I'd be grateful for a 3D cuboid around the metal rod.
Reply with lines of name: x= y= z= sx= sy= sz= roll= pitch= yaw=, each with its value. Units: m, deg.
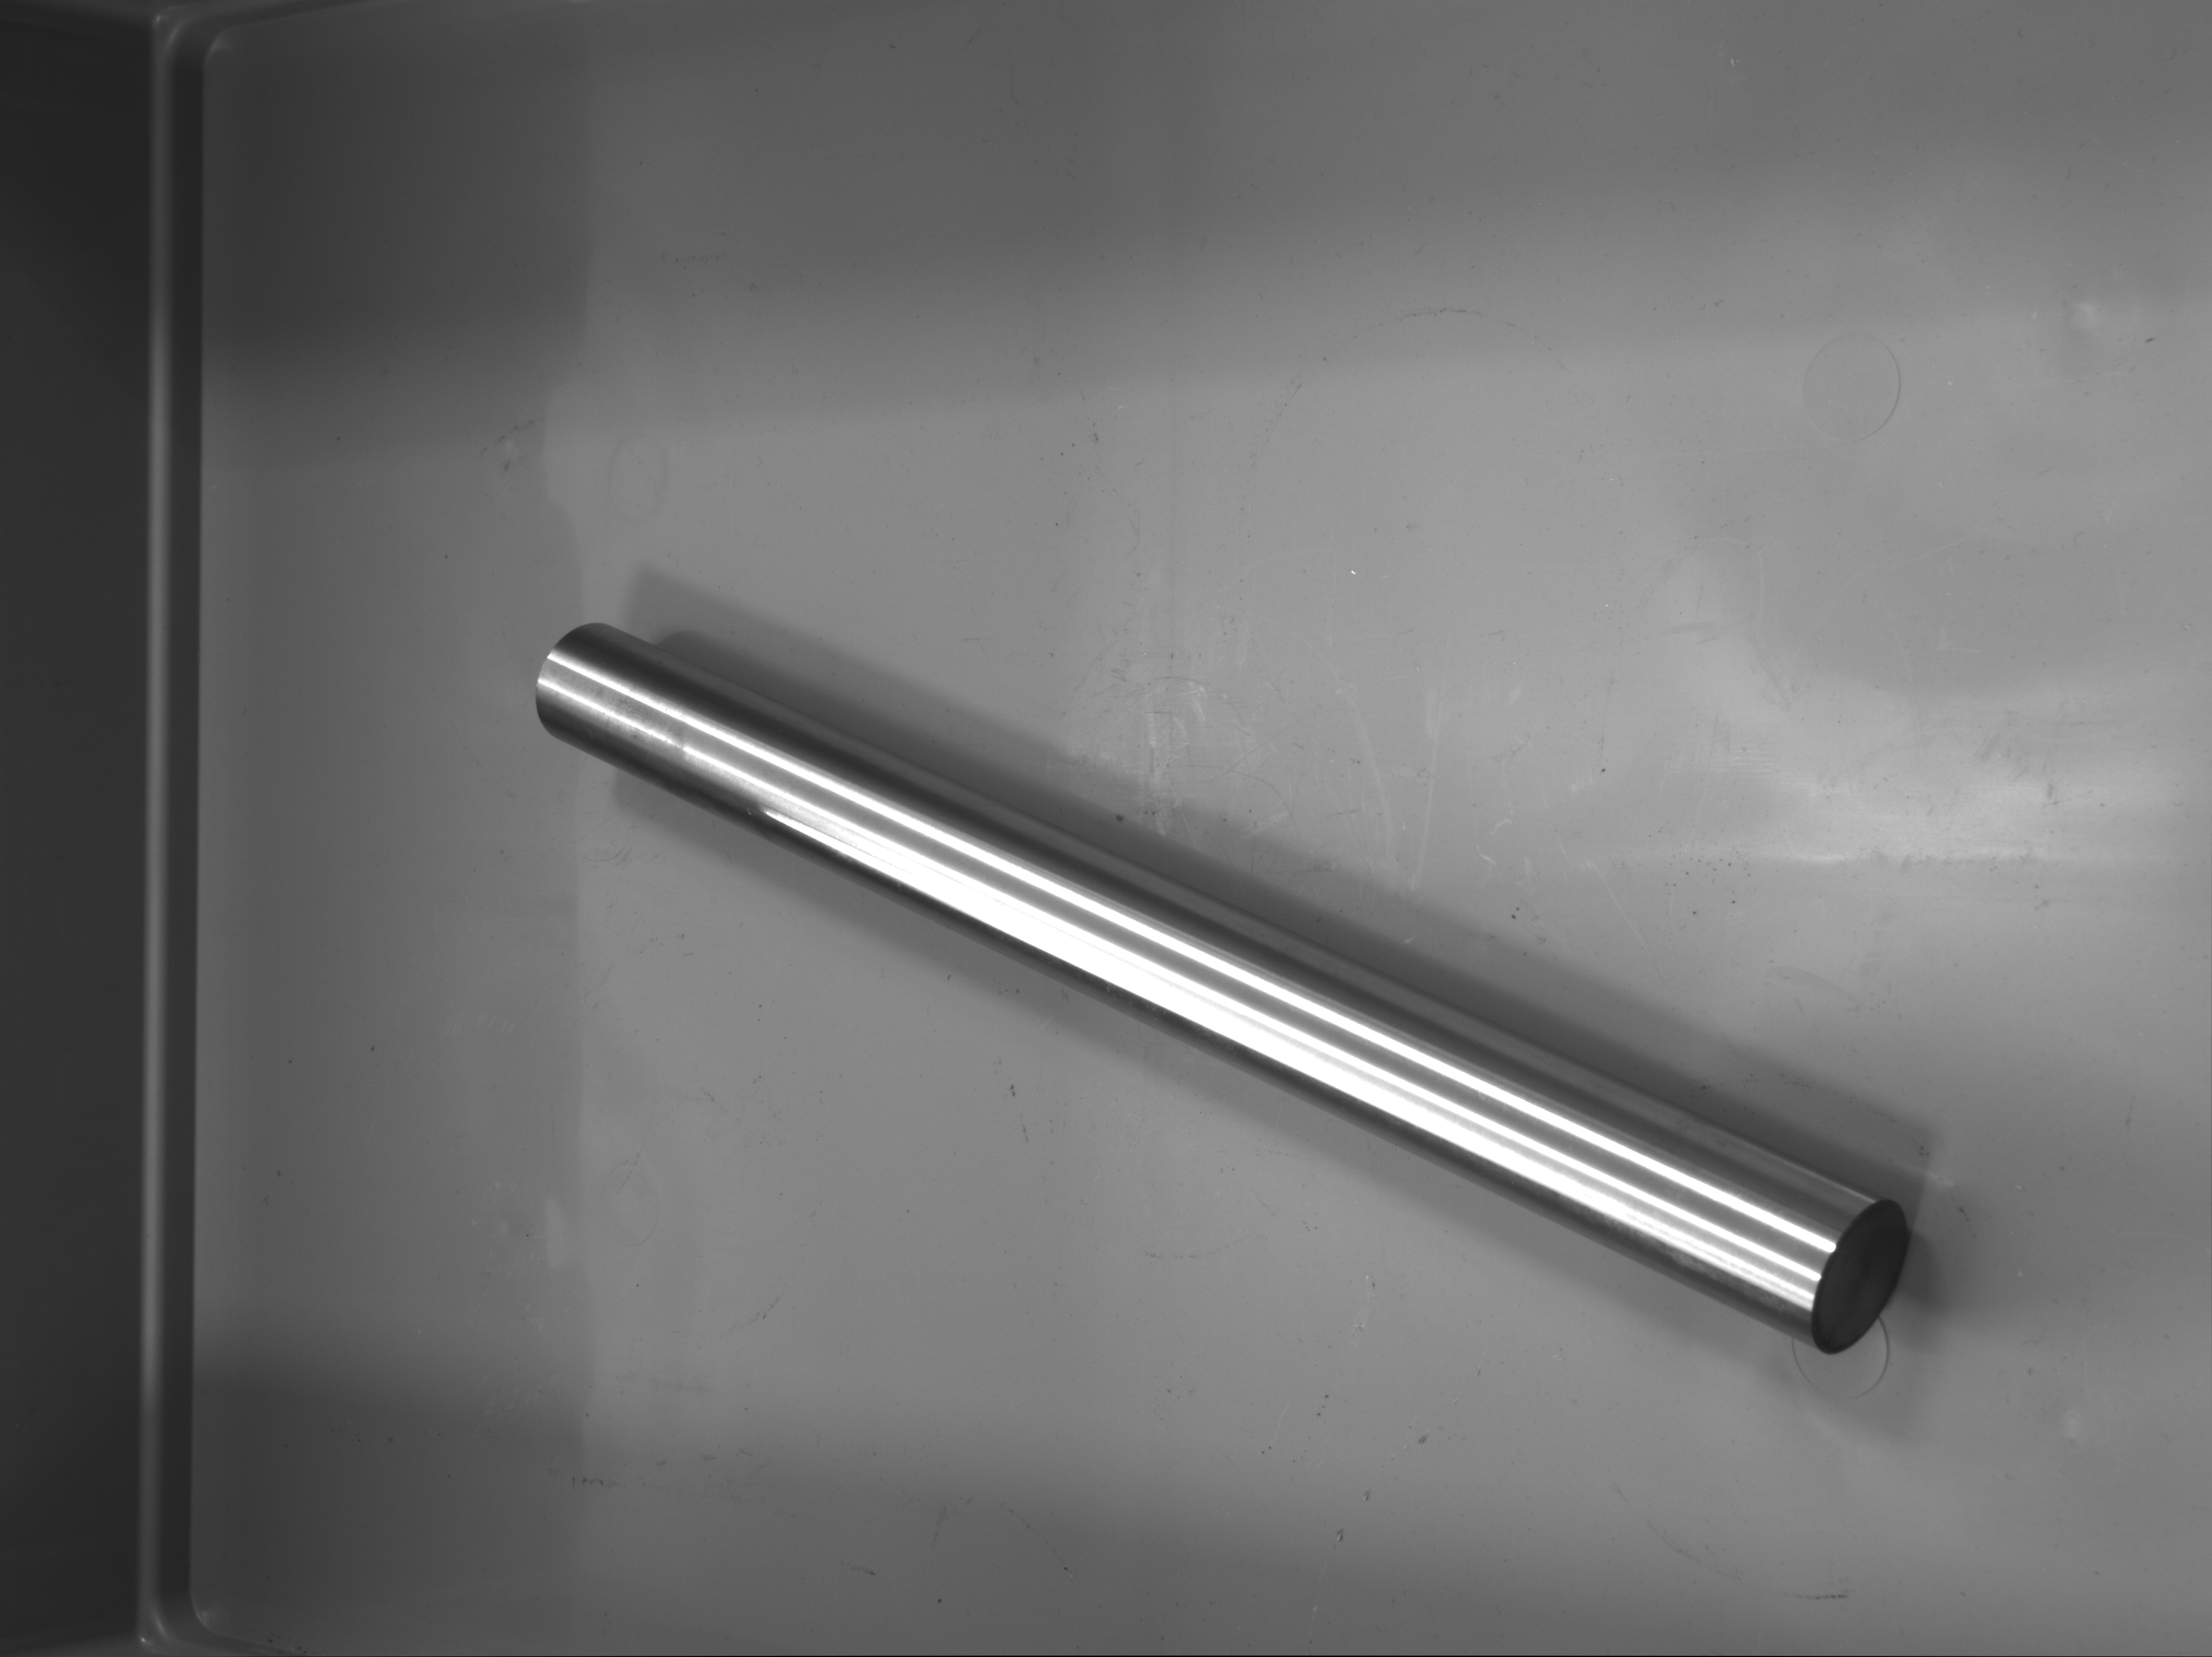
metal rod: x=0.004 y=0.019 z=0.641 sx=0.299 sy=0.025 sz=0.025 roll=24 pitch=105 yaw=38
